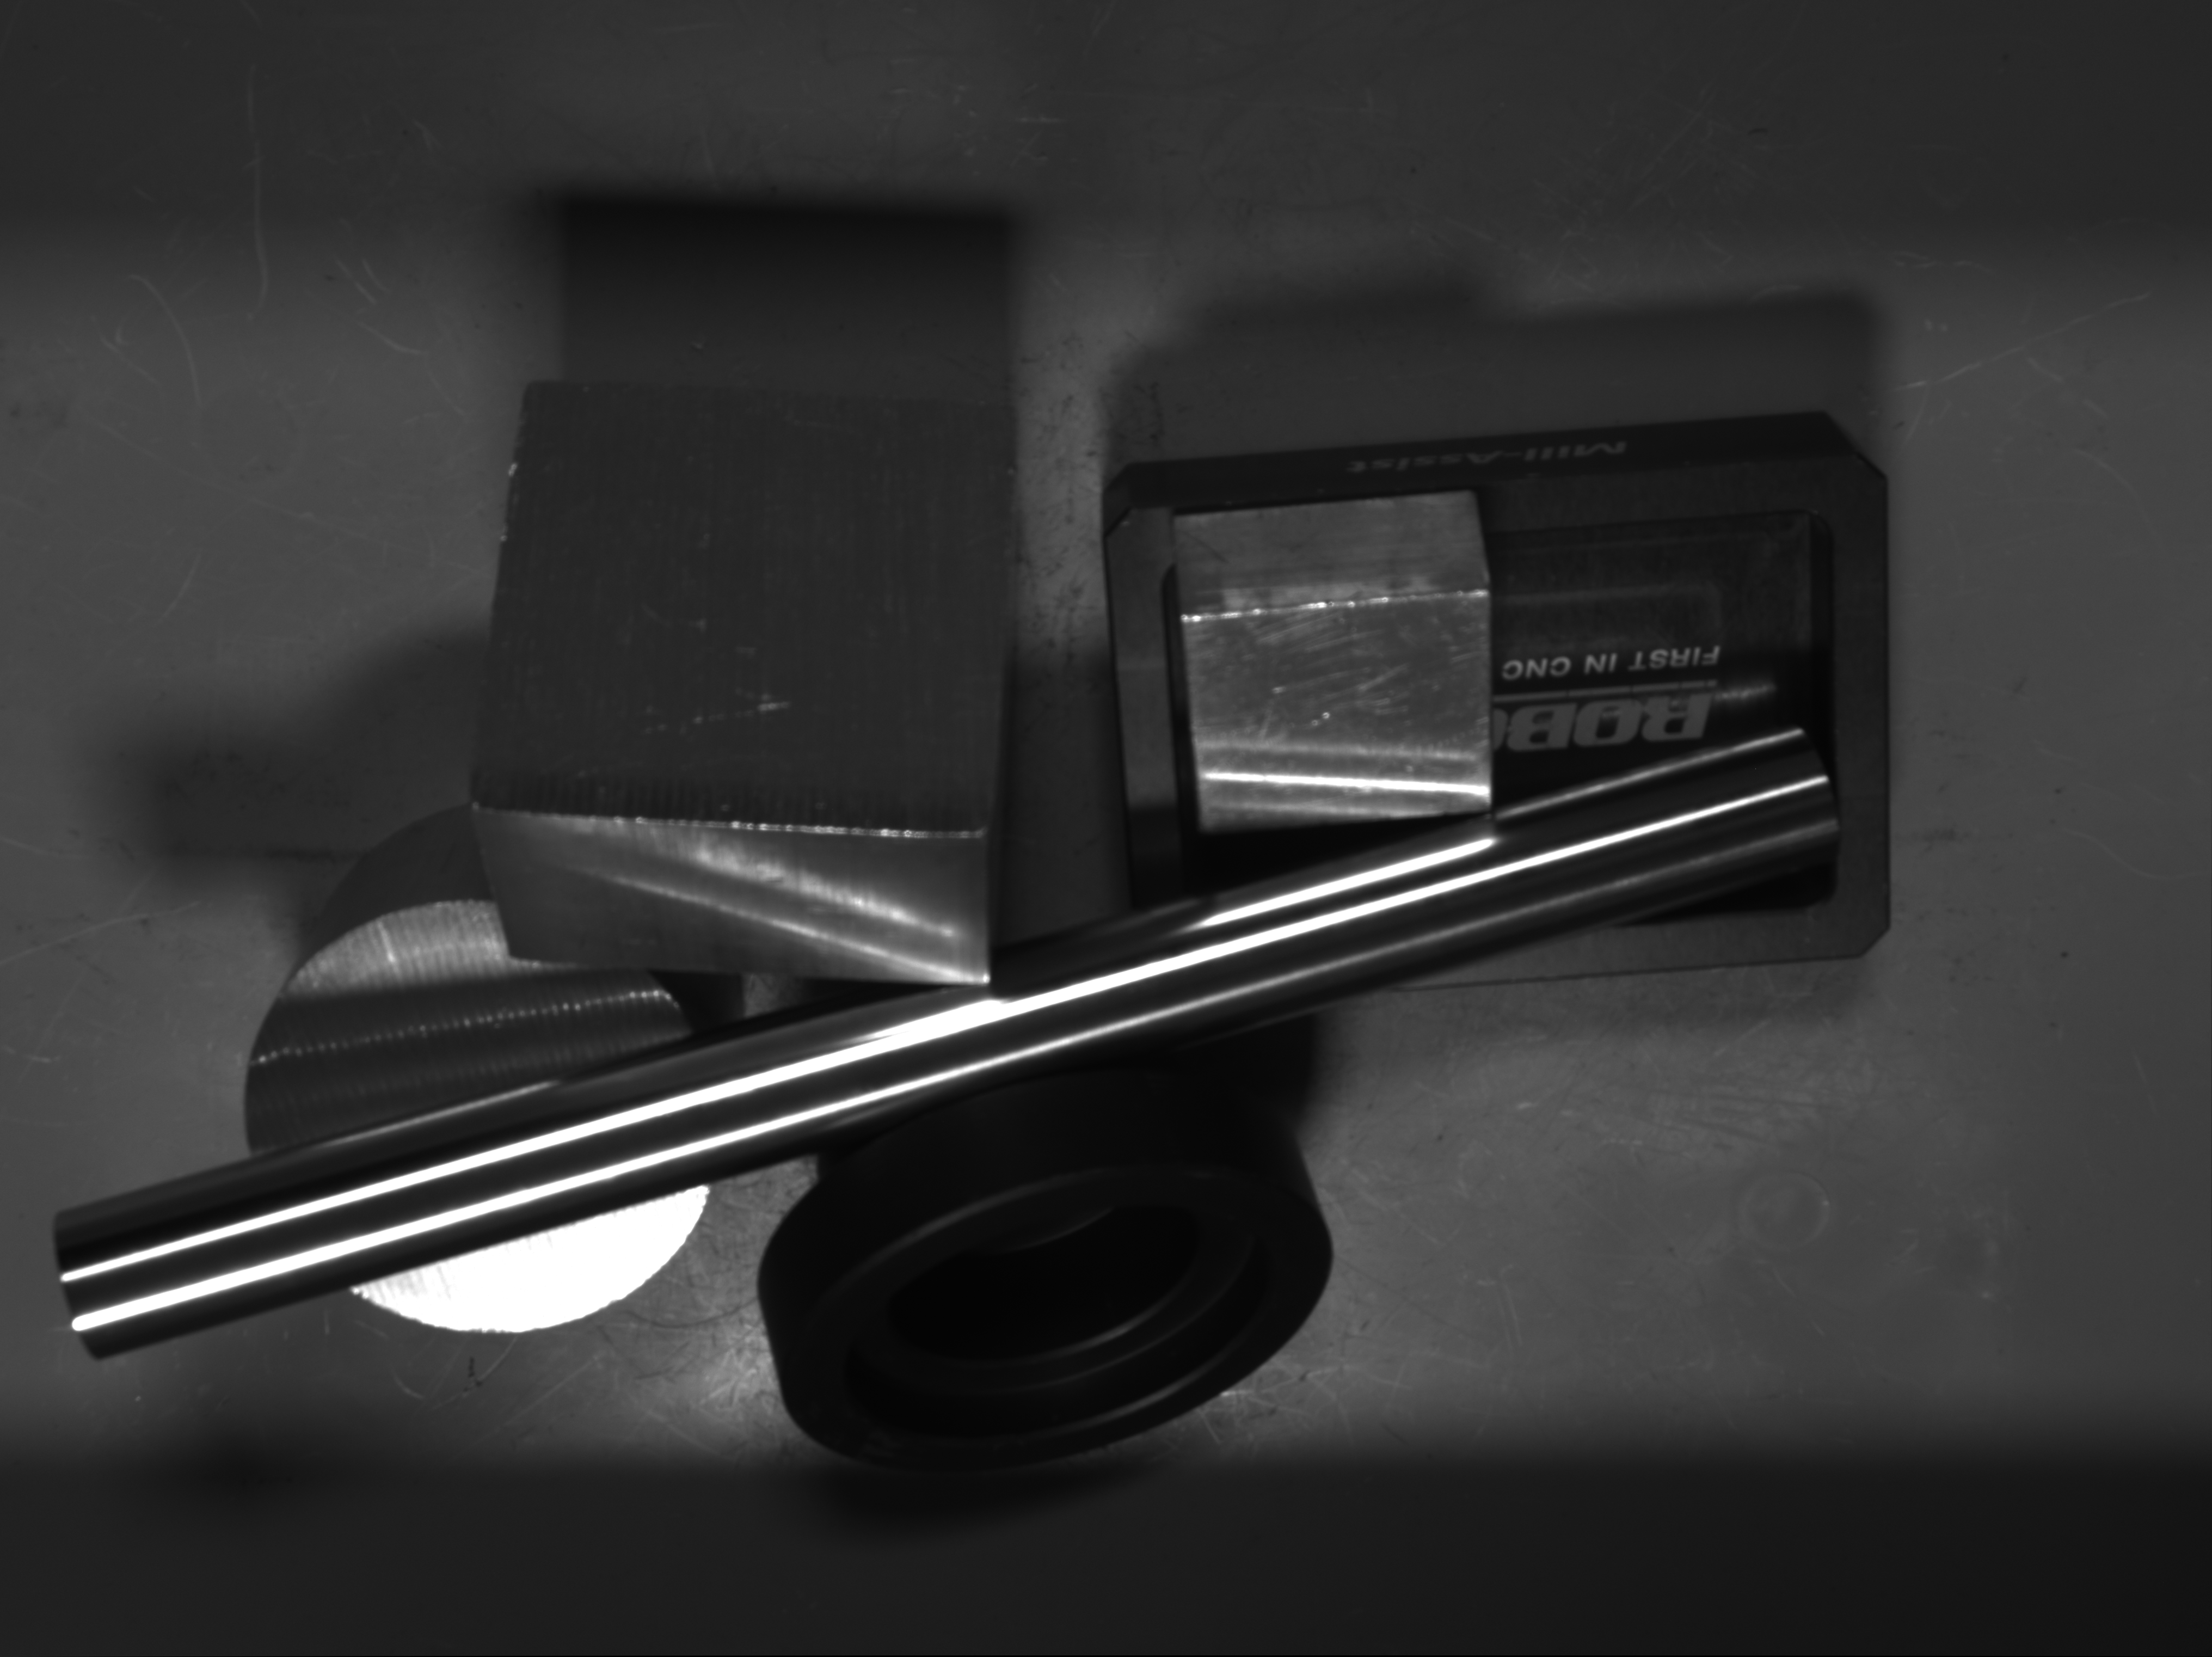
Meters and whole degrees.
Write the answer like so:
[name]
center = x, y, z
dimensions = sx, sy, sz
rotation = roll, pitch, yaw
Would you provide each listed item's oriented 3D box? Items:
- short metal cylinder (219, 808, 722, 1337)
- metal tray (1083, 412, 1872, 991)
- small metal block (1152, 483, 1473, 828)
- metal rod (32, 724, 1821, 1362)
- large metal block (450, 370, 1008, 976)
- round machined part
[short metal cylinder]
center = -0.110, 0.042, 0.641
dimensions = 0.080, 0.050, 0.080
rotation = 0, 110, -1
[metal tray]
center = 0.064, -0.020, 0.632
dimensions = 0.130, 0.030, 0.090
rotation = -4, 110, 1
[small metal block]
center = 0.035, -0.028, 0.609
dimensions = 0.050, 0.025, 0.050
rotation = -4, 136, 1
[metal rod]
center = -0.026, 0.034, 0.610
dimensions = 0.300, 0.025, 0.025
rotation = -16, 110, -7
[large metal block]
center = -0.058, -0.025, 0.595
dimensions = 0.080, 0.080, 0.050
rotation = 3, 152, -1
[round machined part]
center = -0.017, 0.070, 0.641
dimensions = 0.098, 0.042, 0.098
rotation = -12, 144, -9
